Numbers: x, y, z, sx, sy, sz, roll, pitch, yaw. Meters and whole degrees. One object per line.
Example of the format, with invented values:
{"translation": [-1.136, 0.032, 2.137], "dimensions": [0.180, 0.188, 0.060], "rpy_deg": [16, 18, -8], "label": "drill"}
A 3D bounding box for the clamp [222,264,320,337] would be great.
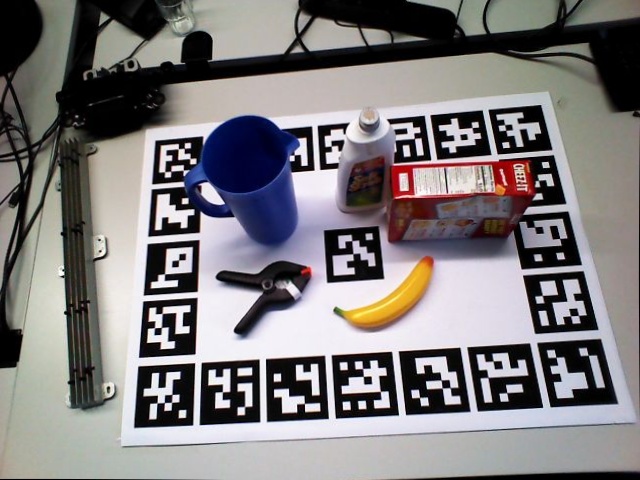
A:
{"translation": [-0.078, 0.089, 0.903], "dimensions": [0.165, 0.037, 0.121], "rpy_deg": [-19, 65, -5], "label": "clamp"}

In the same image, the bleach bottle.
{"translation": [0.080, -0.125, 0.864], "dimensions": [0.103, 0.251, 0.067], "rpy_deg": [-5, 65, 4], "label": "bleach bottle"}

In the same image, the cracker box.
{"translation": [0.240, -0.059, 0.849], "dimensions": [0.214, 0.164, 0.071], "rpy_deg": [-4, 63, 6], "label": "cracker box"}

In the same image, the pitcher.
{"translation": [-0.107, -0.081, 0.843], "dimensions": [0.189, 0.243, 0.133], "rpy_deg": [-21, 66, -7], "label": "pitcher"}

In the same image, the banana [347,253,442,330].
{"translation": [0.143, 0.095, 0.886], "dimensions": [0.197, 0.039, 0.074], "rpy_deg": [-36, 68, -10], "label": "banana"}
